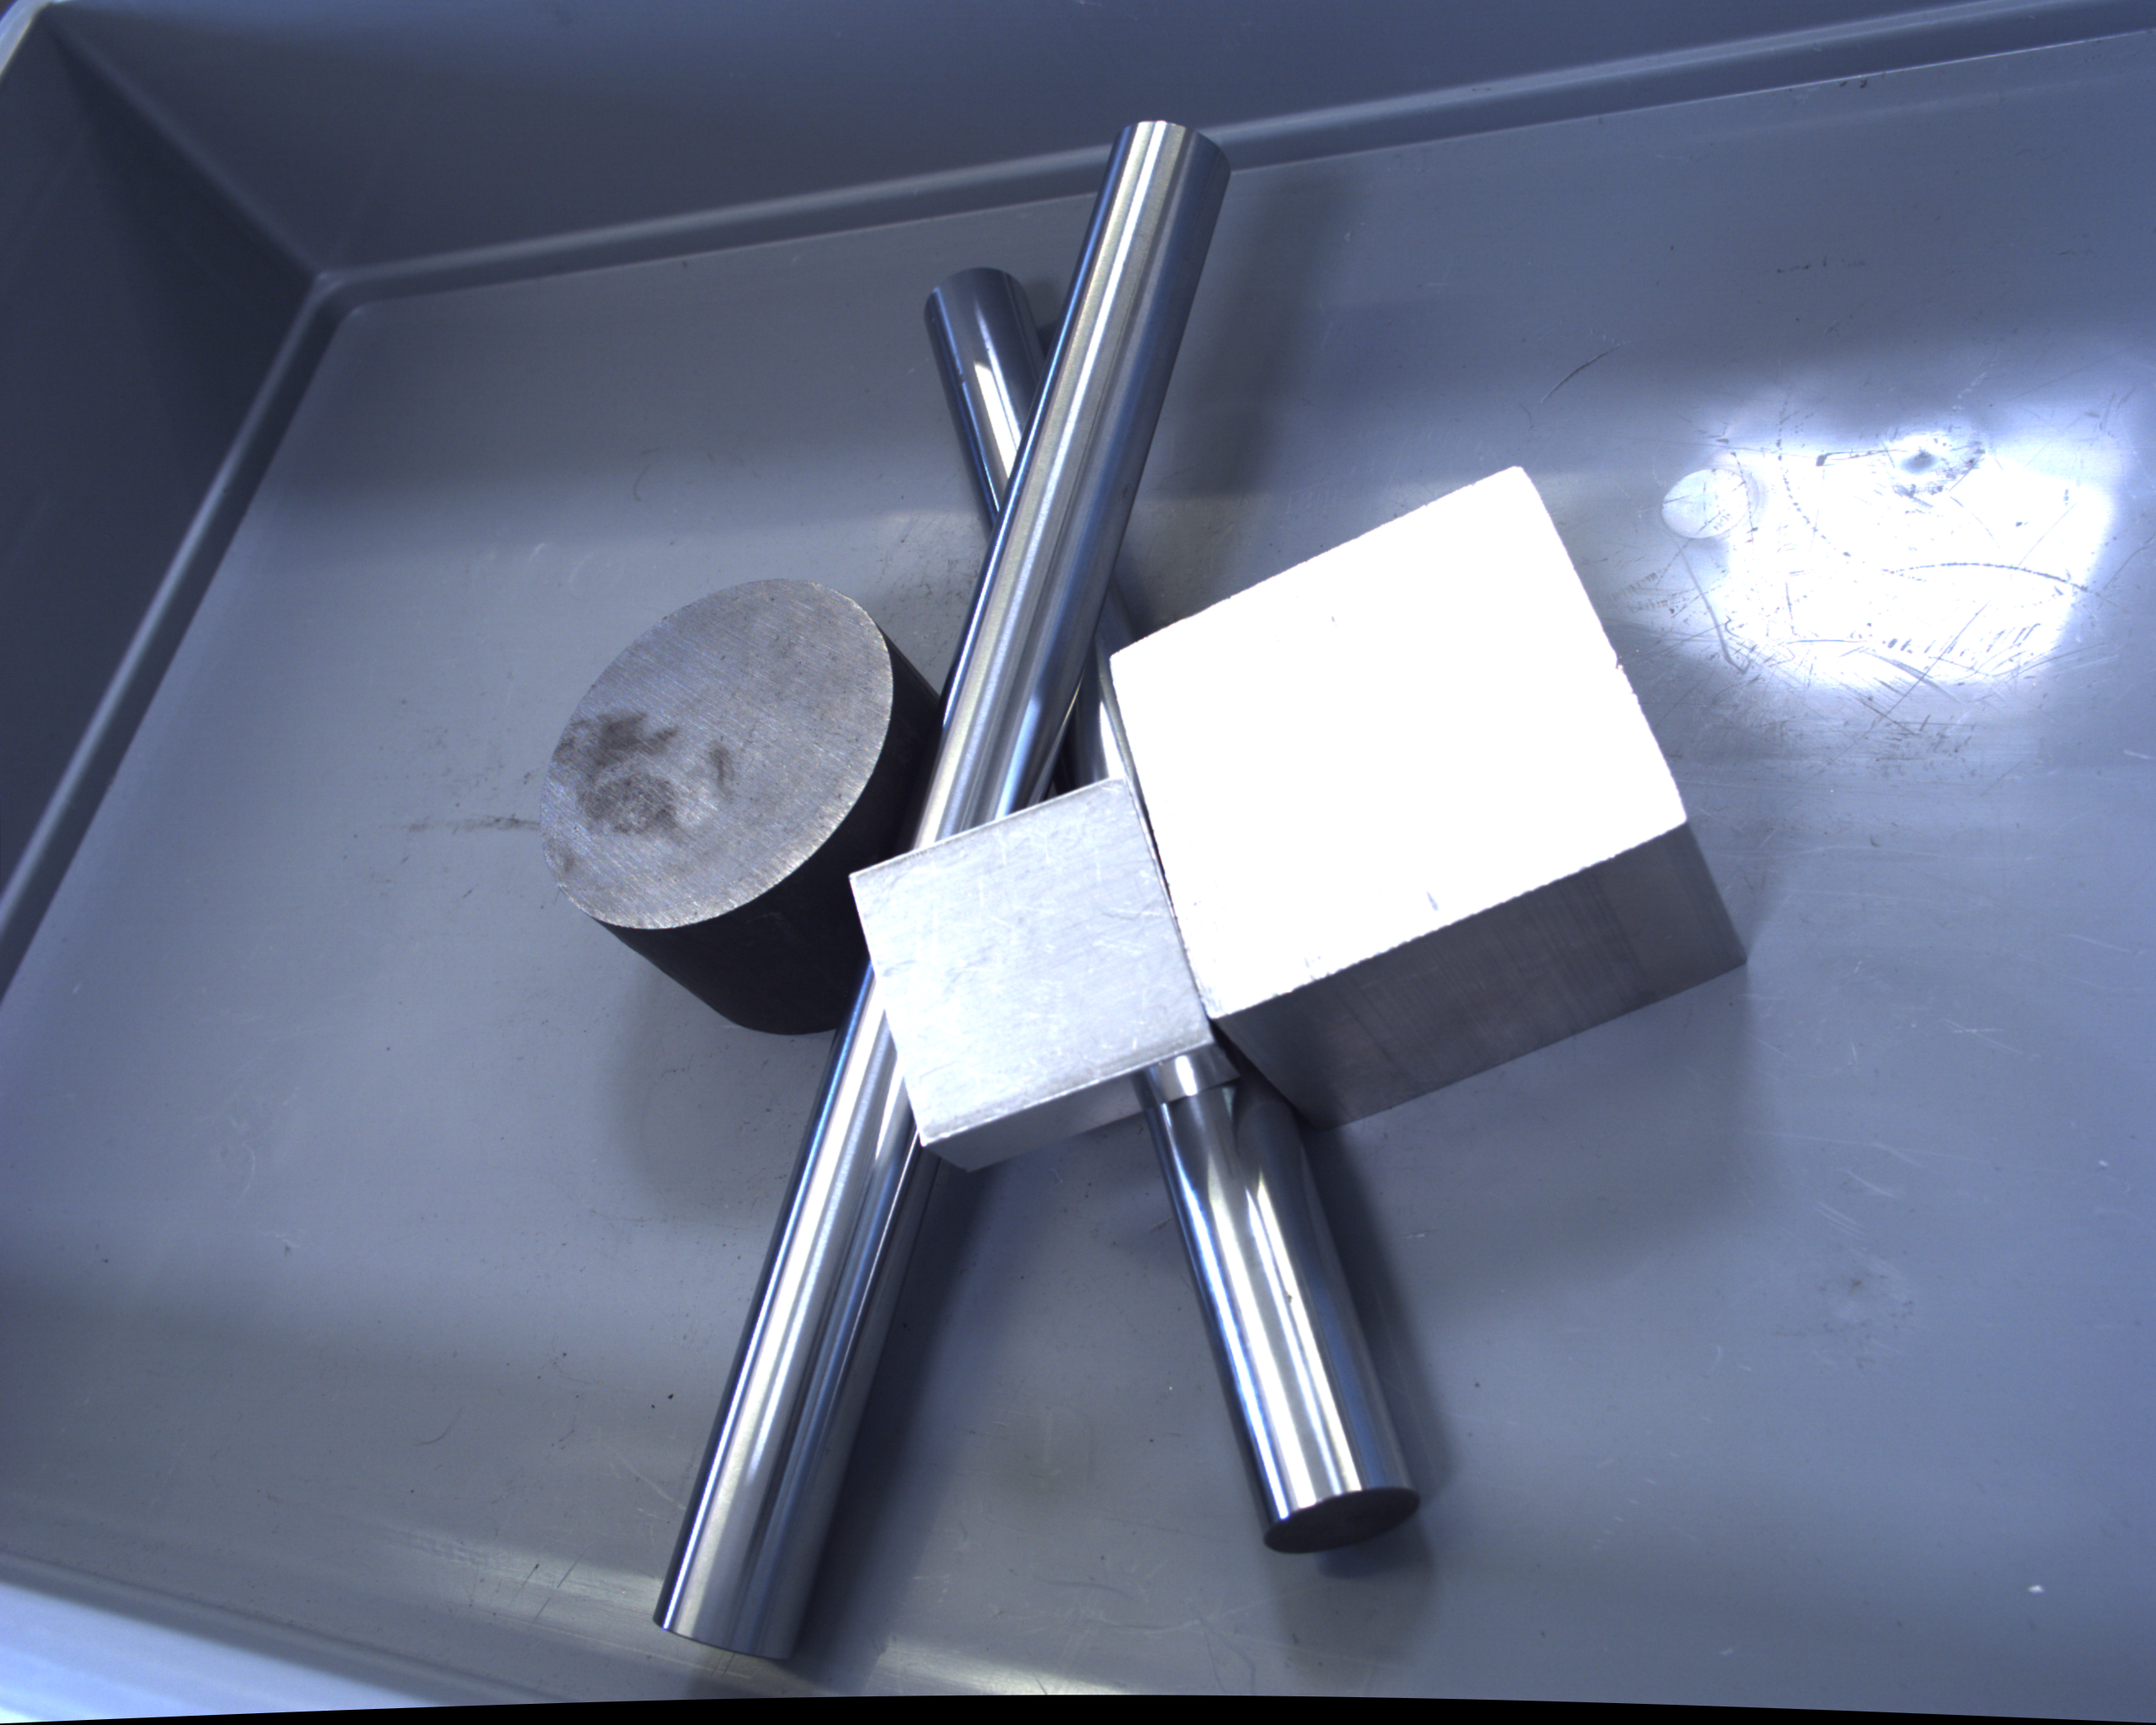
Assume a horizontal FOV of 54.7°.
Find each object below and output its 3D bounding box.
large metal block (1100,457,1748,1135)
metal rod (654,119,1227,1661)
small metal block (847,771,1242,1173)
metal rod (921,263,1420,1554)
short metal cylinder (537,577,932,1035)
[{"bbox_3d":[0.058,-0.011,0.363,0.080,0.050,0.080,-24,53,13],"label":"large metal block"},{"bbox_3d":[-0.021,-0.007,0.393,0.025,0.025,0.299,7,73,31],"label":"metal rod"},{"bbox_3d":[-0.006,0.019,0.354,0.050,0.025,0.050,-20,69,6],"label":"small metal block"},{"bbox_3d":[0.008,-0.015,0.409,0.025,0.025,0.299,-25,53,13],"label":"metal rod"},{"bbox_3d":[-0.062,-0.011,0.427,0.080,0.050,0.080,-13,57,20],"label":"short metal cylinder"}]
